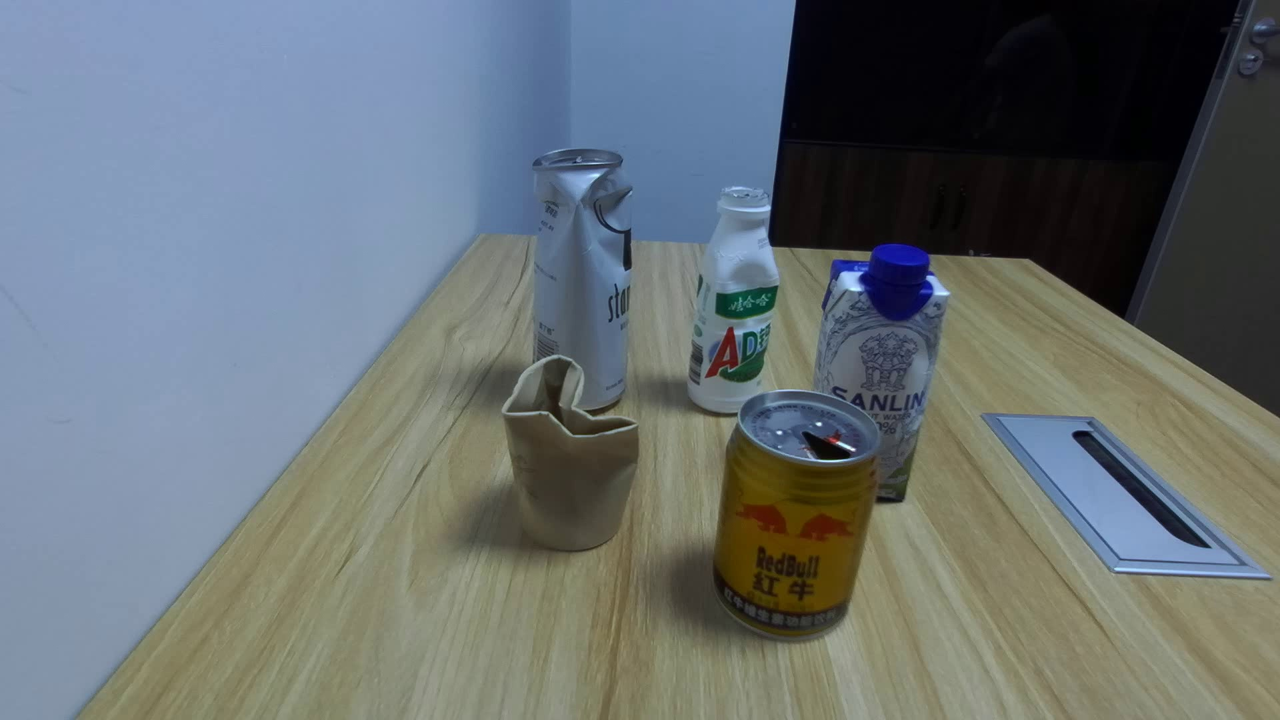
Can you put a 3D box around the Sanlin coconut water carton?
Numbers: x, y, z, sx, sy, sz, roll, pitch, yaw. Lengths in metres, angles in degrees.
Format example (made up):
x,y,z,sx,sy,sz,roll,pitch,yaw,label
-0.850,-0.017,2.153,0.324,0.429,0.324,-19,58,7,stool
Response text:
x,y,z,sx,sy,sz,roll,pitch,yaw,label
0.129,0.006,0.394,0.060,0.144,0.061,3,25,3,Sanlin coconut water carton

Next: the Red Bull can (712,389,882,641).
x,y,z,sx,sy,sz,roll,pitch,yaw,label
0.071,0.077,0.336,0.067,0.093,0.067,7,15,-2,Red Bull can

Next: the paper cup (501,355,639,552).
x,y,z,sx,sy,sz,roll,pitch,yaw,label
-0.031,0.049,0.357,0.058,0.083,0.066,8,28,6,paper cup

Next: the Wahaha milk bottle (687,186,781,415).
x,y,z,sx,sy,sz,roll,pitch,yaw,label
0.063,-0.039,0.472,0.055,0.149,0.055,2,24,-1,Wahaha milk bottle

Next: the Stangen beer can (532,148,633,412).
x,y,z,sx,sy,sz,roll,pitch,yaw,label
-0.040,-0.050,0.466,0.065,0.166,0.066,19,31,32,Stangen beer can
